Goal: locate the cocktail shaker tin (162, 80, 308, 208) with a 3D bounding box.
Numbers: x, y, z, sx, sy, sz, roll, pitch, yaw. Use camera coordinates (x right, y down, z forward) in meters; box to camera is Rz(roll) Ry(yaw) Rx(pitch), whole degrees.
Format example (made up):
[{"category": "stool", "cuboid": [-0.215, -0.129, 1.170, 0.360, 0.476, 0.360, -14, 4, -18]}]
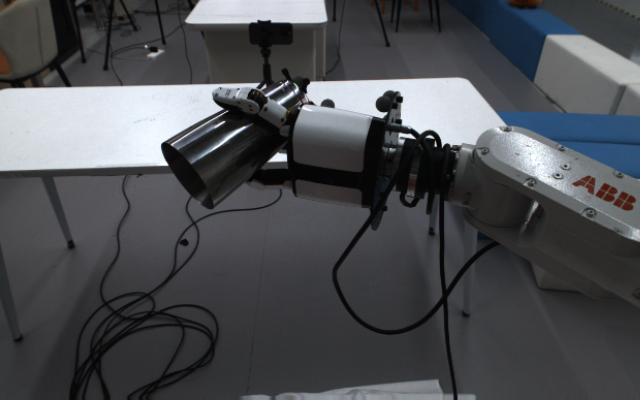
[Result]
[{"category": "cocktail shaker tin", "cuboid": [-0.091, -0.079, 0.582, 0.170, 0.093, 0.093, -38, 49, -24]}]
